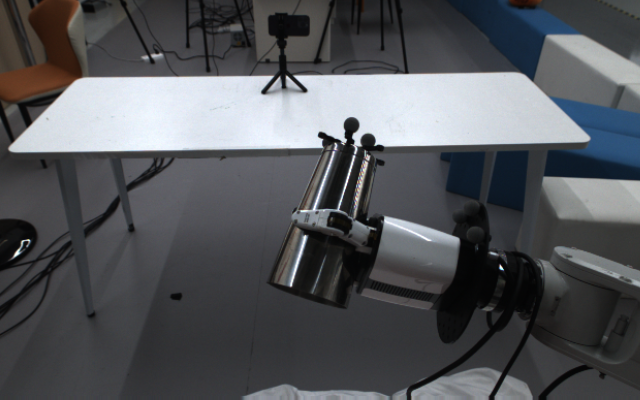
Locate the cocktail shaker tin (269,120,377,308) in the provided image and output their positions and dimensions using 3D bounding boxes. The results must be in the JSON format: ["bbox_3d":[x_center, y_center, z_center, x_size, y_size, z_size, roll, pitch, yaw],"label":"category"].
[{"bbox_3d":[0.009,0.026,0.544,0.093,0.093,0.170,14,74,17],"label":"cocktail shaker tin"}]
